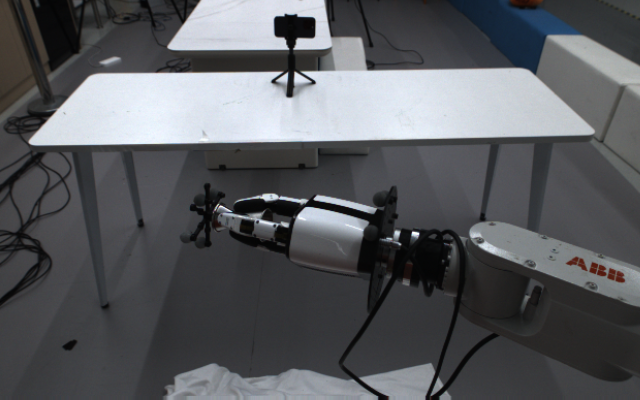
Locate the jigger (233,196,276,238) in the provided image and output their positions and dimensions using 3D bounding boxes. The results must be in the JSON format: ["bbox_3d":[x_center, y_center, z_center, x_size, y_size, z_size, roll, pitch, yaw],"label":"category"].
[{"bbox_3d":[-0.095,0.024,0.627,0.071,0.043,0.043,8,35,16],"label":"jigger"}]
